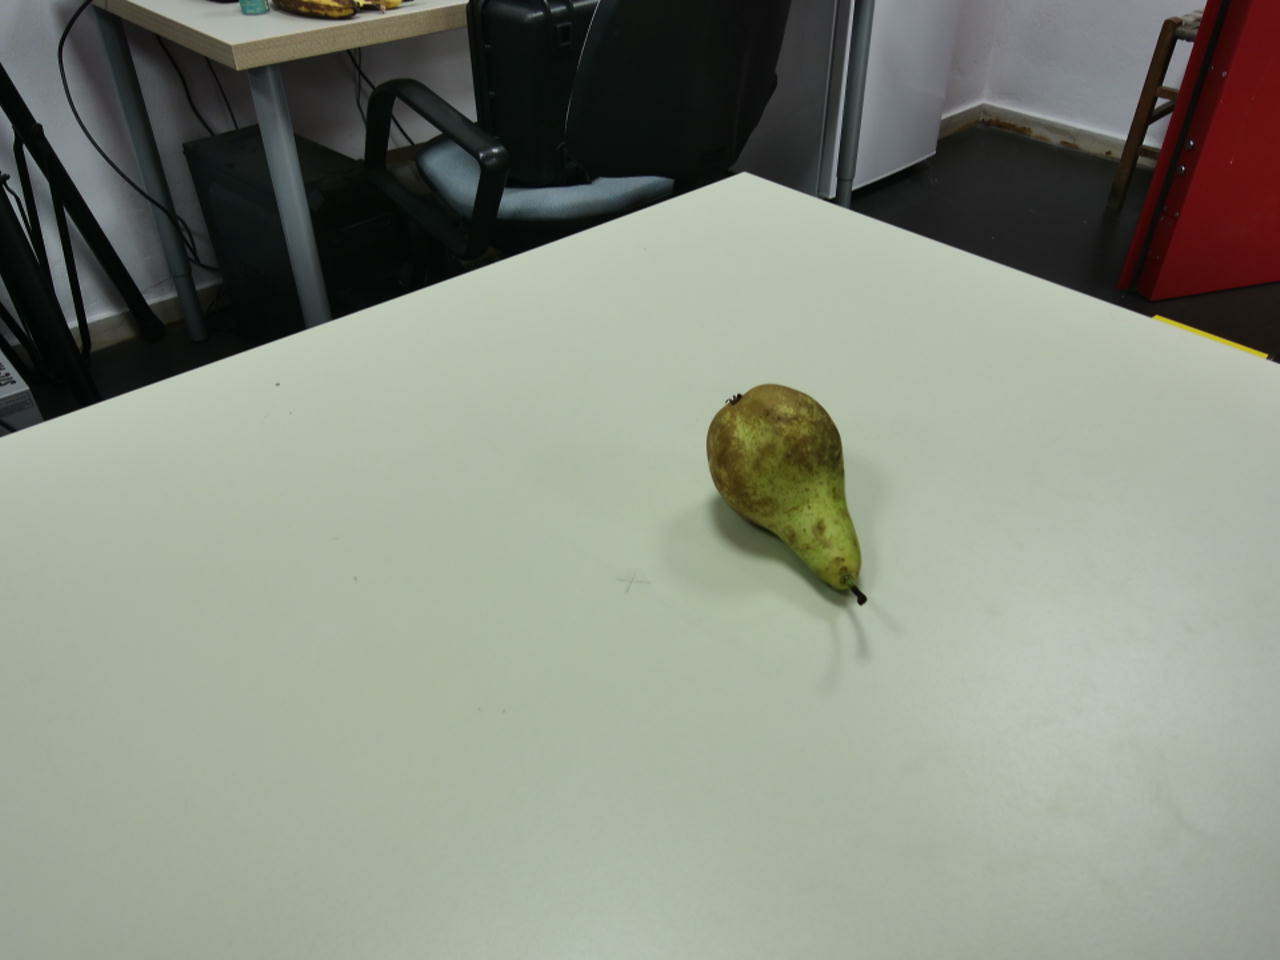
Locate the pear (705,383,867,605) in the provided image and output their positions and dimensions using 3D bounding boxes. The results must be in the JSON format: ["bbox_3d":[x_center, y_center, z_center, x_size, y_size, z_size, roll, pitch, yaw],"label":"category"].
[{"bbox_3d":[0.090,0.003,0.509,0.071,0.075,0.144,-22,41,-26],"label":"pear"}]
